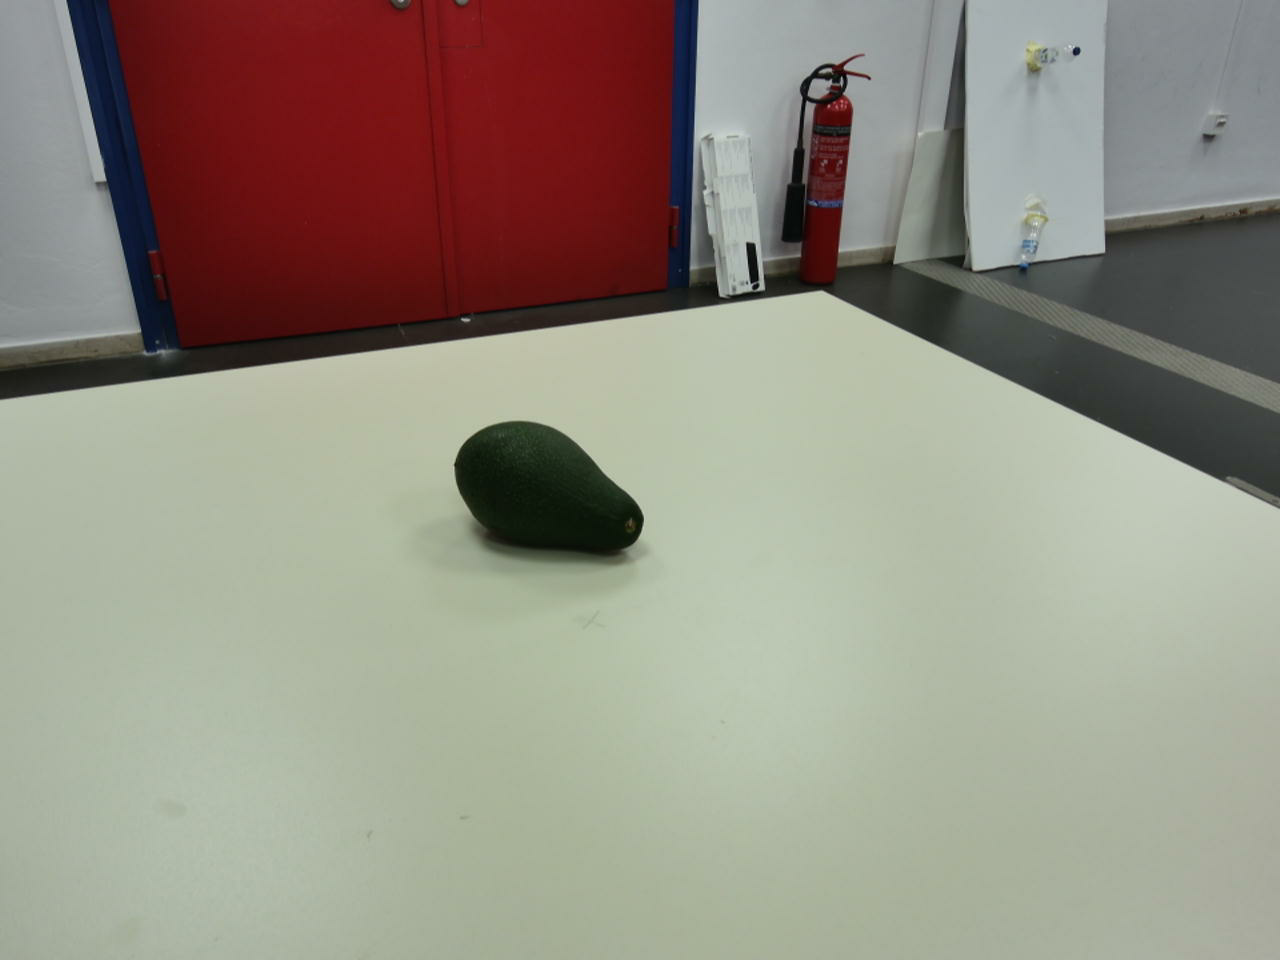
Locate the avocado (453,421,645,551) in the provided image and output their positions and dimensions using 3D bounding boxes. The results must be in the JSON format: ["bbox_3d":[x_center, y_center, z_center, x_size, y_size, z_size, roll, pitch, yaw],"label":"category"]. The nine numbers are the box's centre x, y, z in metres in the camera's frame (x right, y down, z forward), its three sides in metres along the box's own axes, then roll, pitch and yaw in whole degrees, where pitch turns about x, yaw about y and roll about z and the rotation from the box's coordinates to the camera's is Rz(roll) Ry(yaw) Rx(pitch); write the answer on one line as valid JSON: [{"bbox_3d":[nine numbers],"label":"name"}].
[{"bbox_3d":[-0.056,0.005,0.579,0.110,0.071,0.072,21,34,37],"label":"avocado"}]
